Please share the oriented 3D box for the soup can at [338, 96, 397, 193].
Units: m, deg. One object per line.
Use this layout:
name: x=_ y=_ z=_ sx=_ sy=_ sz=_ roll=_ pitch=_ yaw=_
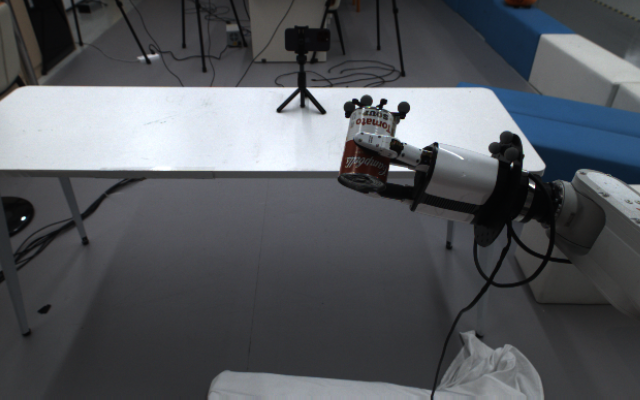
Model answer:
soup can: x=0.067 y=-0.071 z=0.672 sx=0.067 sy=0.067 sz=0.101 roll=9 pitch=74 yaw=9
